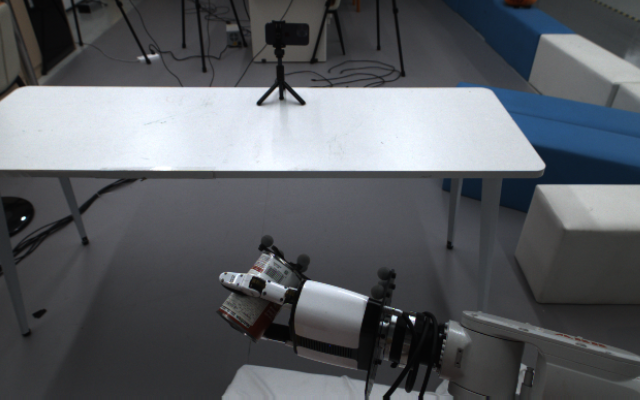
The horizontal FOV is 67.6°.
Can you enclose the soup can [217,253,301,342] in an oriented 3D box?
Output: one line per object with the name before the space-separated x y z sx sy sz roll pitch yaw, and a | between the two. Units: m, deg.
soup can | -0.078 0.128 0.644 0.067 0.067 0.101 25 67 30
